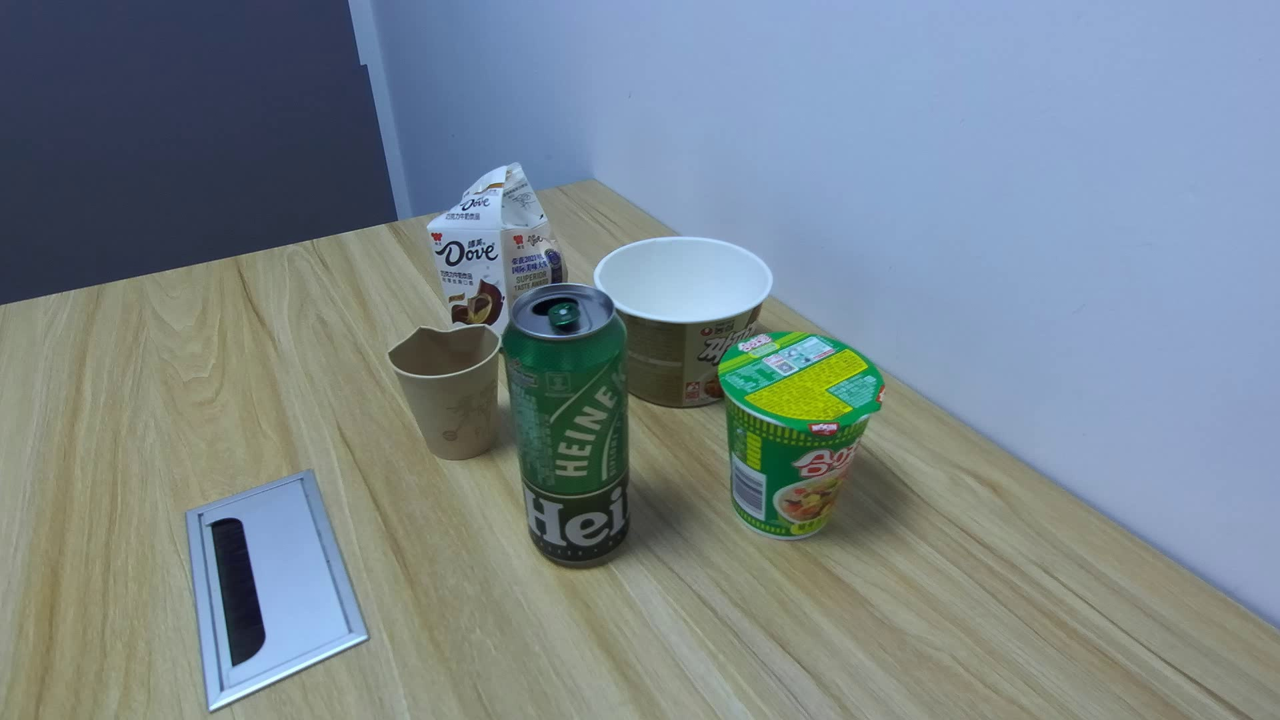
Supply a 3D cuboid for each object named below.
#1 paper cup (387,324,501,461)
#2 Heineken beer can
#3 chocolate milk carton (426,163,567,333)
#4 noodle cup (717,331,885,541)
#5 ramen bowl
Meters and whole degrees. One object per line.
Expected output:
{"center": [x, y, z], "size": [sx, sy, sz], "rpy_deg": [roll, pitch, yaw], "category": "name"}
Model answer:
{"center": [-0.134, 0.025, 0.516], "size": [0.068, 0.081, 0.073], "rpy_deg": [18, 39, 23], "category": "paper cup"}
{"center": [-0.040, 0.043, 0.417], "size": [0.067, 0.169, 0.067], "rpy_deg": [0, 35, 0], "category": "Heineken beer can"}
{"center": [-0.125, -0.091, 0.629], "size": [0.089, 0.156, 0.077], "rpy_deg": [6, 31, 33], "category": "chocolate milk carton"}
{"center": [0.095, 0.053, 0.451], "size": [0.097, 0.110, 0.097], "rpy_deg": [1, 35, 0], "category": "noodle cup"}
{"center": [0.036, -0.031, 0.589], "size": [0.140, 0.095, 0.140], "rpy_deg": [0, 36, 0], "category": "ramen bowl"}
